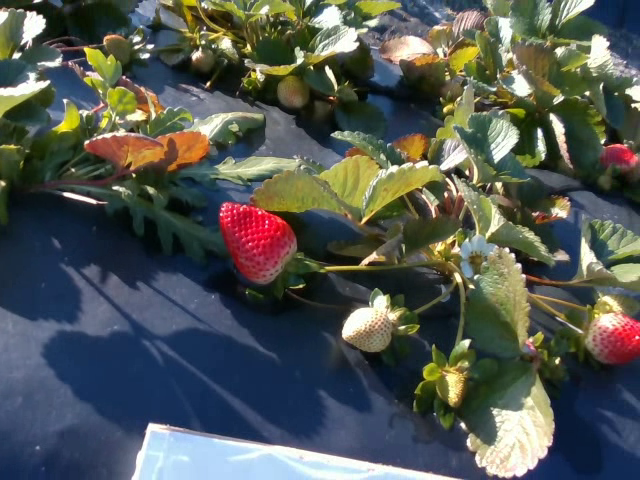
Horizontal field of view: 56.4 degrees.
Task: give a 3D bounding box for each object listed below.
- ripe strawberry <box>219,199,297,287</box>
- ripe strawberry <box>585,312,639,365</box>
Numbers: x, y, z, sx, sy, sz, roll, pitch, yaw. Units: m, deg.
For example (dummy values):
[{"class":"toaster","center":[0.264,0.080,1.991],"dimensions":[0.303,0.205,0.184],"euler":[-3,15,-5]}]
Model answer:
[{"class":"ripe strawberry","center":[-0.034,-0.002,0.300],"dimensions":[0.054,0.043,0.036],"euler":[42,-15,-10]},{"class":"ripe strawberry","center":[0.167,0.054,0.322],"dimensions":[0.042,0.037,0.045],"euler":[2,-12,-41]}]
